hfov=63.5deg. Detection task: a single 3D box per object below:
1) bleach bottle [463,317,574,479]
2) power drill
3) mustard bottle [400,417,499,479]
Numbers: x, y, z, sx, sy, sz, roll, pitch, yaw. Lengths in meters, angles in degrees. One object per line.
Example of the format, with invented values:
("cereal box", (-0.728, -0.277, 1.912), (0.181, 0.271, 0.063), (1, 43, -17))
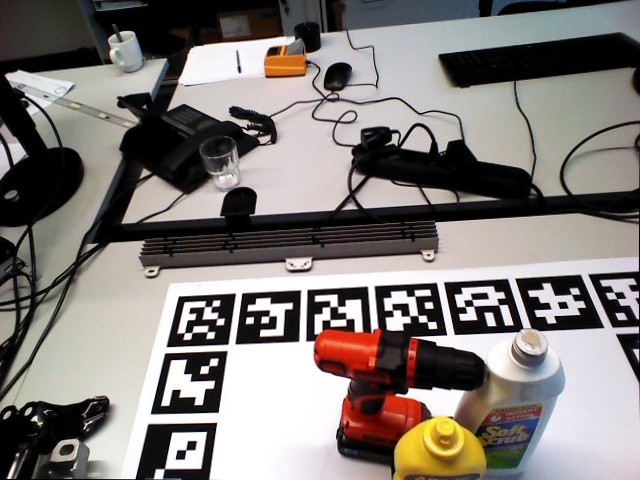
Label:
("bleach bottle", (0.204, 0.174, 0.556), (0.103, 0.251, 0.067), (-1, 42, 8))
("power drill", (0.094, 0.173, 0.580), (0.185, 0.187, 0.057), (7, 48, 13))
("mustard bottle", (0.135, 0.236, 0.543), (0.096, 0.192, 0.058), (-2, 47, 5))
